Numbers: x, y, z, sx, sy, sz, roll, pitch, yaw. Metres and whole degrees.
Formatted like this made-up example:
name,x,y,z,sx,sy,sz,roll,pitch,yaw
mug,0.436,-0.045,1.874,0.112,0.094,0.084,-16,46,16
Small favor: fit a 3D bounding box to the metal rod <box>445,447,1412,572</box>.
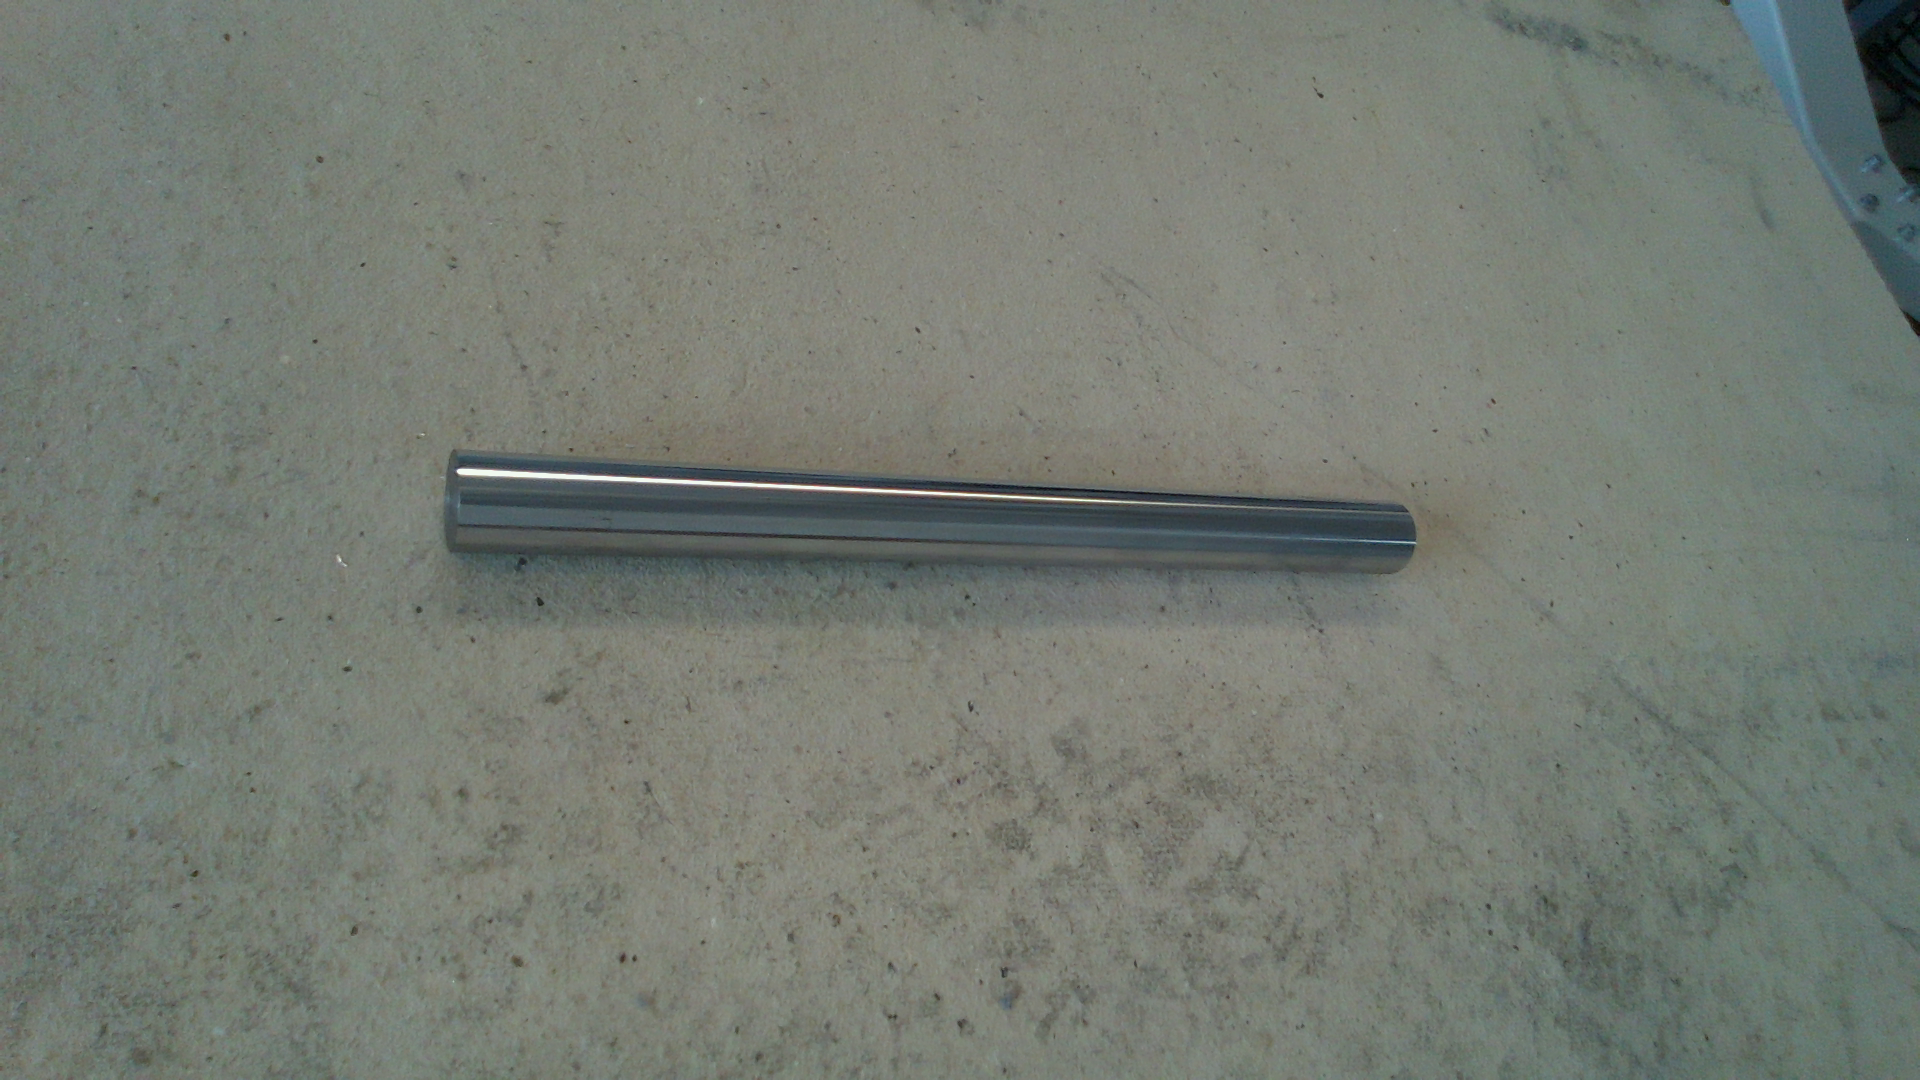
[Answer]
name,x,y,z,sx,sy,sz,roll,pitch,yaw
metal rod,0.011,-0.005,0.399,0.301,0.025,0.025,2,61,-27
